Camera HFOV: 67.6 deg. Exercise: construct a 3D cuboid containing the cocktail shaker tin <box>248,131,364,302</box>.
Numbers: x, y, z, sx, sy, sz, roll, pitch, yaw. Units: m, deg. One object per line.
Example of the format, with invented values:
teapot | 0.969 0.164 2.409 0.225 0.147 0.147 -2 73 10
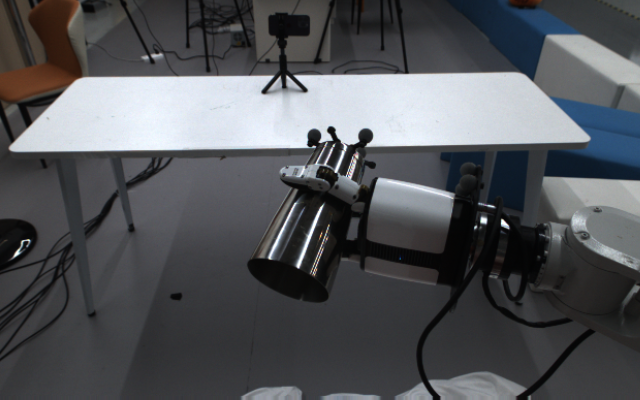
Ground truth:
cocktail shaker tin | -0.005 0.017 0.543 0.093 0.093 0.170 14 58 16
